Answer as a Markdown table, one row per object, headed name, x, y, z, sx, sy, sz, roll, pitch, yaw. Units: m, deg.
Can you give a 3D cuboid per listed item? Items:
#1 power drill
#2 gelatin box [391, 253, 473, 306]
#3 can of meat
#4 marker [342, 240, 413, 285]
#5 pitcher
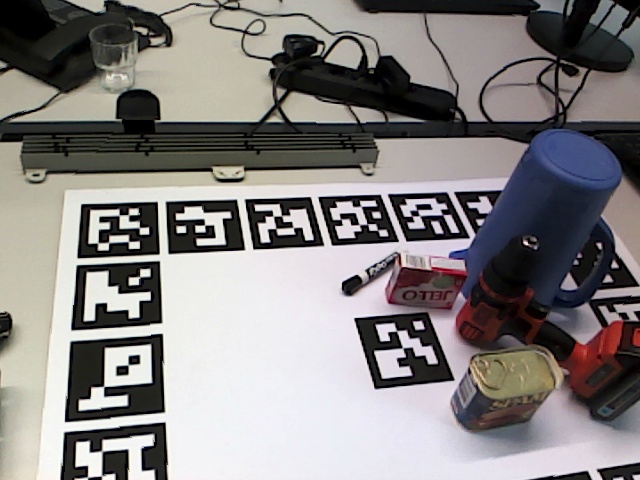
| name | x | y | z | sx | sy | sz | roll | pitch | yaw |
| --- | --- | --- | --- | --- | --- | --- | --- | --- | --- |
| power drill | 0.265 | 0.086 | 0.727 | 0.187 | 0.184 | 0.057 | 27 | 51 | 6 |
| gelatin box | 0.145 | 0.054 | 0.810 | 0.089 | 0.073 | 0.030 | 7 | 51 | -7 |
| can of meat | 0.204 | 0.168 | 0.704 | 0.101 | 0.083 | 0.058 | -3 | 46 | -14 |
| marker | 0.079 | 0.031 | 0.851 | 0.120 | 0.019 | 0.020 | -26 | 58 | -29 |
| pitcher | 0.296 | -0.007 | 0.789 | 0.189 | 0.242 | 0.133 | 18 | 50 | 14 |
